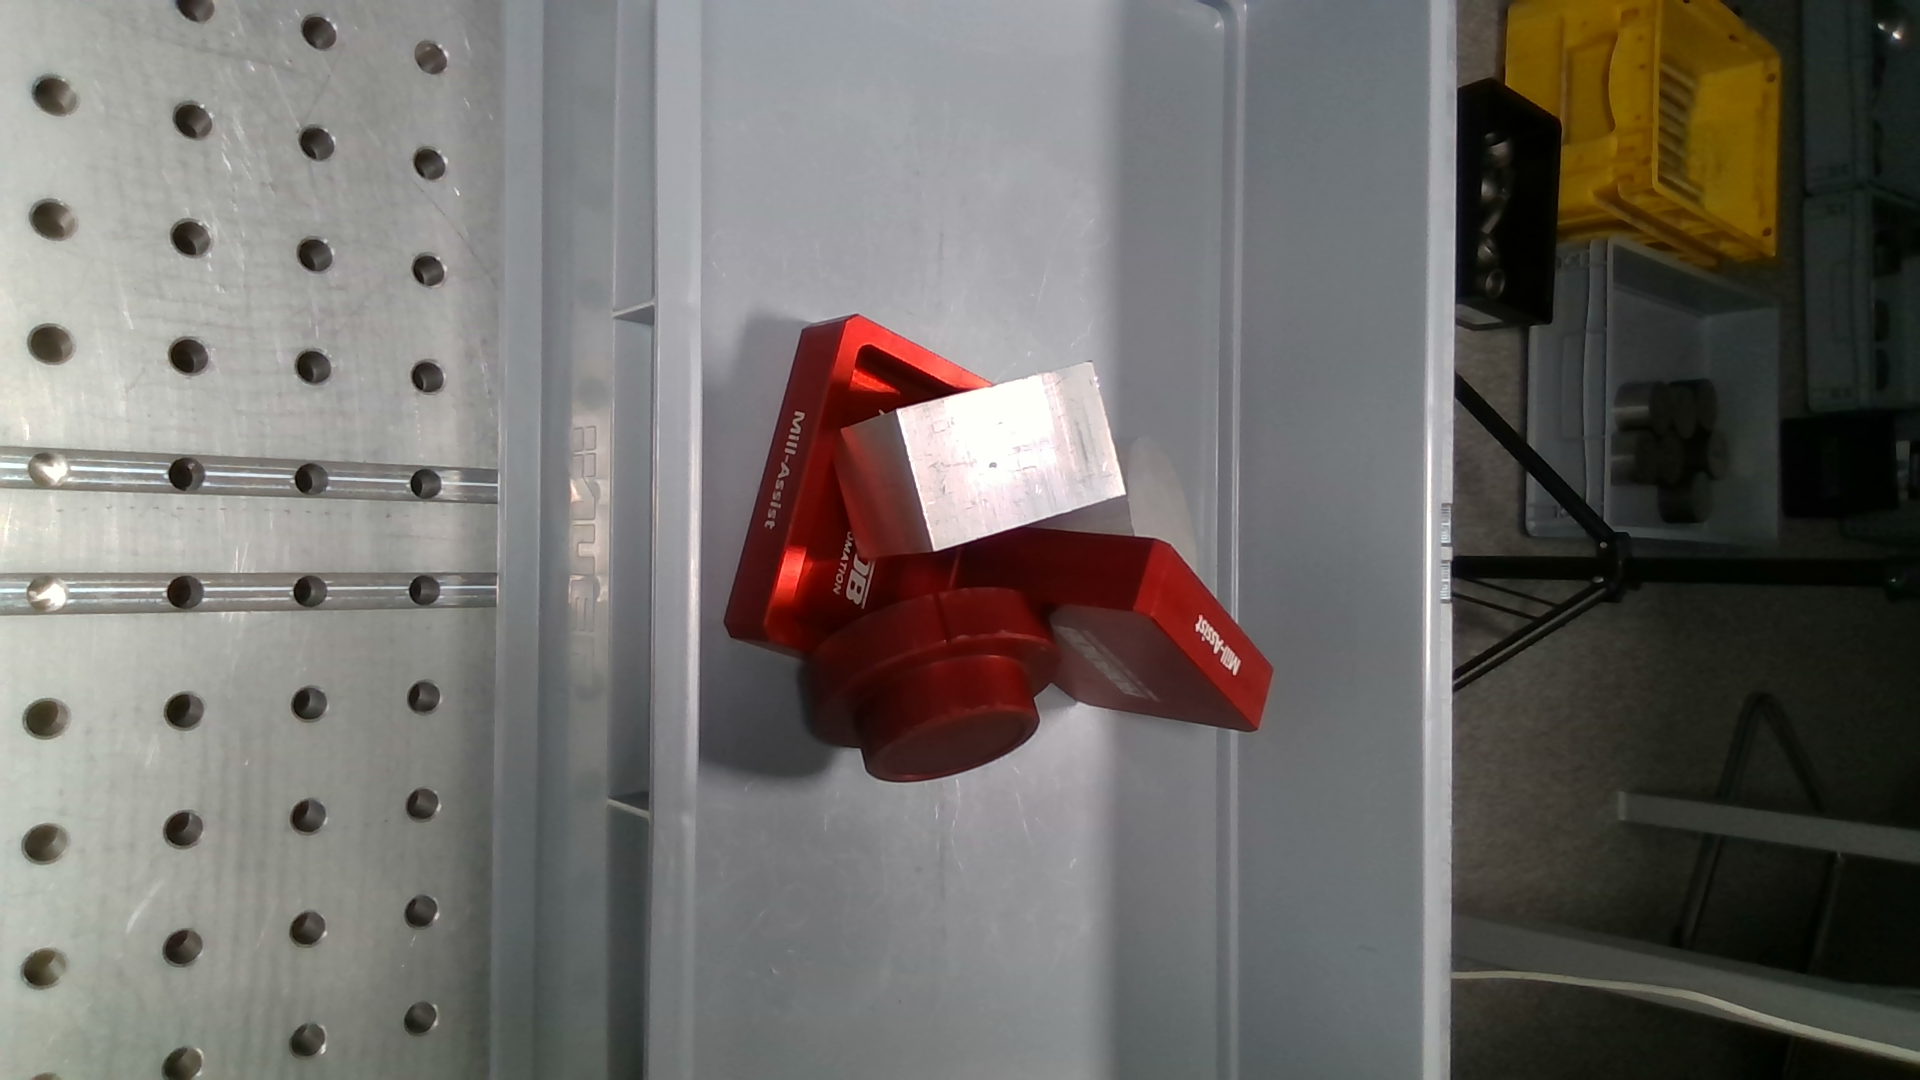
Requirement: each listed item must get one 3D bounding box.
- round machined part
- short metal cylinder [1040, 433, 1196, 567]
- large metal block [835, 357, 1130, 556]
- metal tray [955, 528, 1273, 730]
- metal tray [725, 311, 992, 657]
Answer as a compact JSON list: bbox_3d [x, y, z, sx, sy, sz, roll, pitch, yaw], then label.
[{"bbox_3d":[-0.008,0.060,0.523,0.098,0.098,0.042,8,55,-40],"label":"round machined part"},{"bbox_3d":[0.066,-0.002,0.601,0.080,0.050,0.080,37,47,-53],"label":"short metal cylinder"},{"bbox_3d":[0.004,-0.030,0.519,0.080,0.080,0.050,-17,95,-23],"label":"large metal block"},{"bbox_3d":[0.066,0.038,0.575,0.130,0.090,0.030,42,60,-49],"label":"metal tray"},{"bbox_3d":[-0.033,-0.014,0.549,0.090,0.030,0.130,22,76,-38],"label":"metal tray"}]
